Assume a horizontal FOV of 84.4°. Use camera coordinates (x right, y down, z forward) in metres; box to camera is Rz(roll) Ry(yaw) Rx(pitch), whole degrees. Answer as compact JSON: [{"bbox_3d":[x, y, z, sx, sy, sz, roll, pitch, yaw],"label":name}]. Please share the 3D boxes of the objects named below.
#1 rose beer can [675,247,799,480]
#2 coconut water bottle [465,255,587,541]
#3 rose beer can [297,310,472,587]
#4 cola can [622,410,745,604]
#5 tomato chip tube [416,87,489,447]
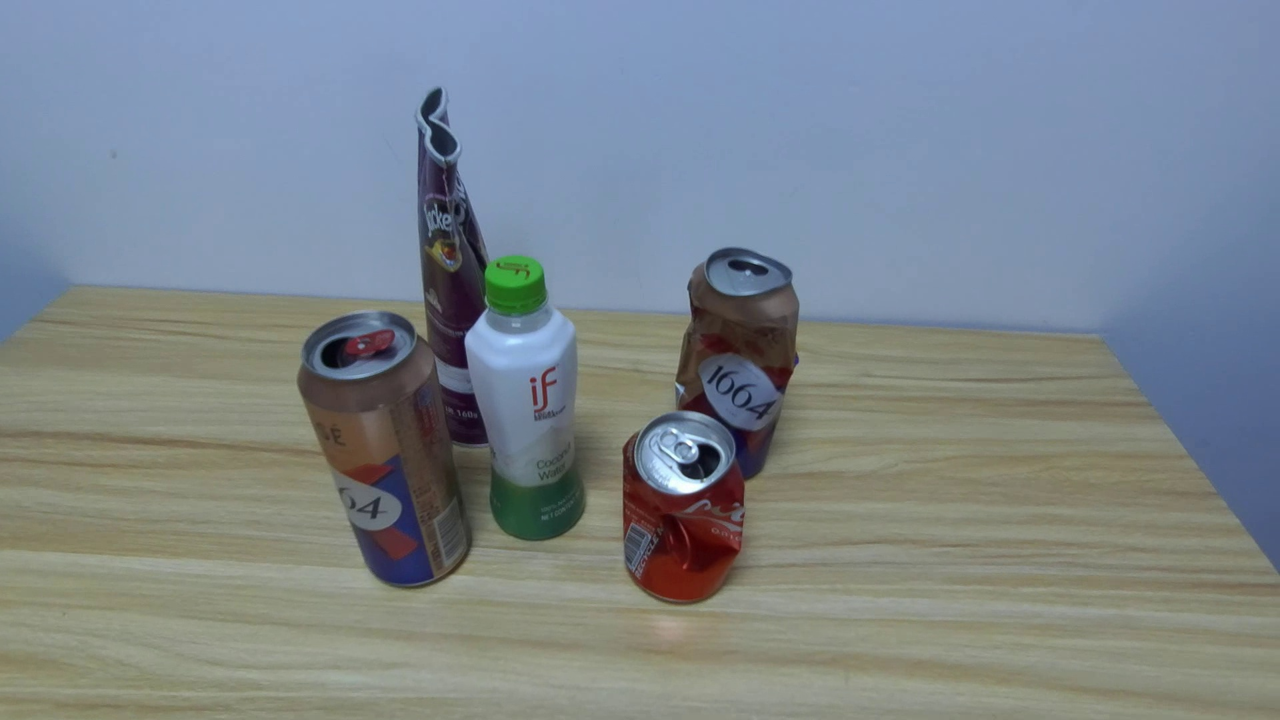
[{"bbox_3d":[0.062,0.008,0.471,0.073,0.162,0.068,6,38,2],"label":"rose beer can"},{"bbox_3d":[-0.067,0.027,0.423,0.063,0.189,0.063,1,39,0],"label":"coconut water bottle"},{"bbox_3d":[-0.140,0.057,0.403,0.068,0.169,0.068,0,39,0],"label":"rose beer can"},{"bbox_3d":[0.023,0.086,0.412,0.066,0.112,0.069,-8,41,-10],"label":"cola can"},{"bbox_3d":[-0.119,-0.051,0.481,0.077,0.236,0.090,20,43,19],"label":"tomato chip tube"}]
